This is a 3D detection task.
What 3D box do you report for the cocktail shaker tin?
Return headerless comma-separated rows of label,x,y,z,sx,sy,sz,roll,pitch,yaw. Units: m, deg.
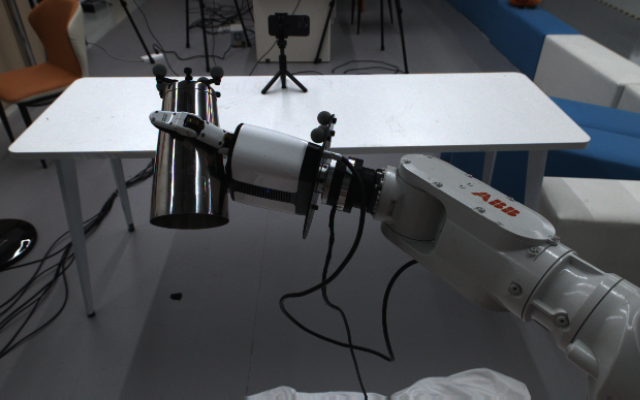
cocktail shaker tin,-0.161,-0.055,0.598,0.093,0.093,0.170,-3,76,-7
